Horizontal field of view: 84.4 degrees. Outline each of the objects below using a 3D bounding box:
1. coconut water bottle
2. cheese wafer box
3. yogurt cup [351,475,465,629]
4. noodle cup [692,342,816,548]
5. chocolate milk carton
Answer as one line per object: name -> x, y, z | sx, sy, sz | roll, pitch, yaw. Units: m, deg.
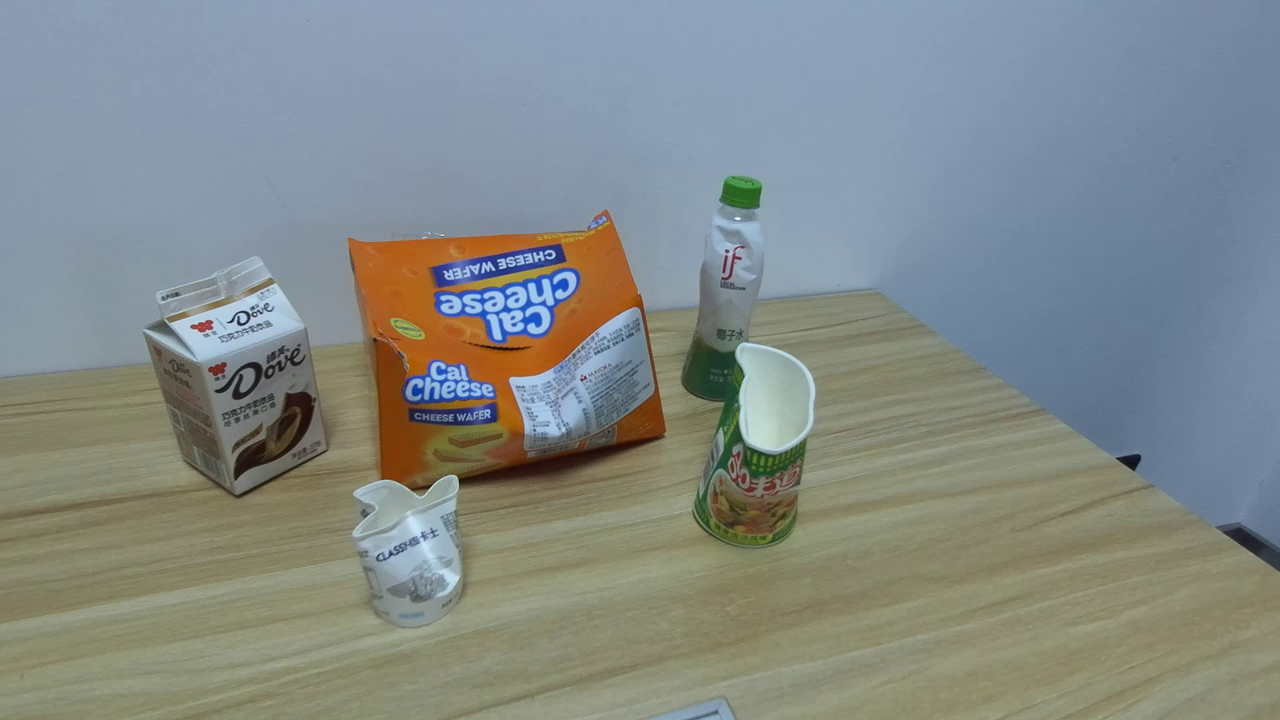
coconut water bottle -> 0.075, -0.059, 0.598 | 0.067, 0.187, 0.067 | 5, 28, -2
cheese wafer box -> -0.097, -0.011, 0.547 | 0.220, 0.145, 0.190 | -9, 32, -20
yogurt cup -> -0.131, 0.107, 0.406 | 0.055, 0.072, 0.055 | -4, 30, -11
noodle cup -> 0.075, 0.062, 0.465 | 0.070, 0.111, 0.115 | 15, 32, 21
chocolate milk carton -> -0.277, 0.007, 0.485 | 0.074, 0.148, 0.075 | 21, 33, 27
